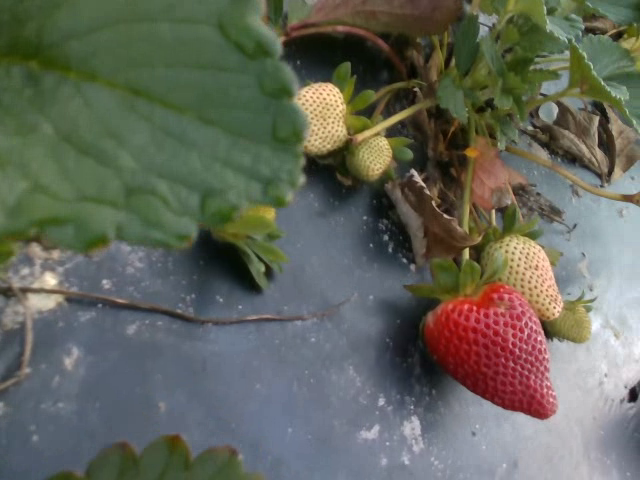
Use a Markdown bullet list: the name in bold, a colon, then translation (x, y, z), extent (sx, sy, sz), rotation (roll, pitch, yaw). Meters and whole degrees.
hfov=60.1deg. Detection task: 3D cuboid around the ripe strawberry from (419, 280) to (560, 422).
- **ripe strawberry**: translation (0.068, 0.041, 0.203), extent (0.050, 0.059, 0.034), rotation (-17, -28, -39)
